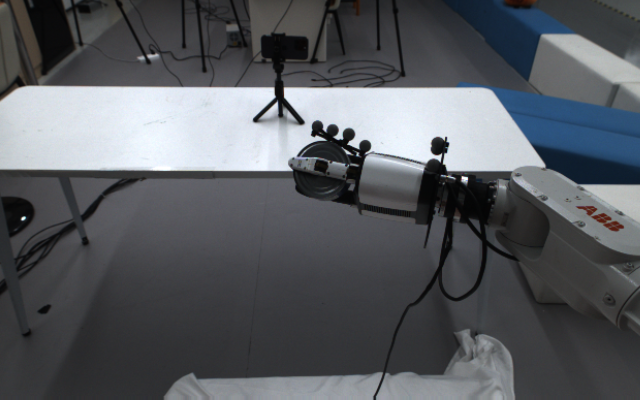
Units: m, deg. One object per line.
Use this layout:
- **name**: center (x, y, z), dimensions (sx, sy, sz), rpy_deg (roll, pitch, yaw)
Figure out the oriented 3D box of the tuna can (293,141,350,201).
- **tuna can**: center (0.007, -0.044, 0.712), dimensions (0.085, 0.085, 0.034), rpy_deg (13, -6, 16)
